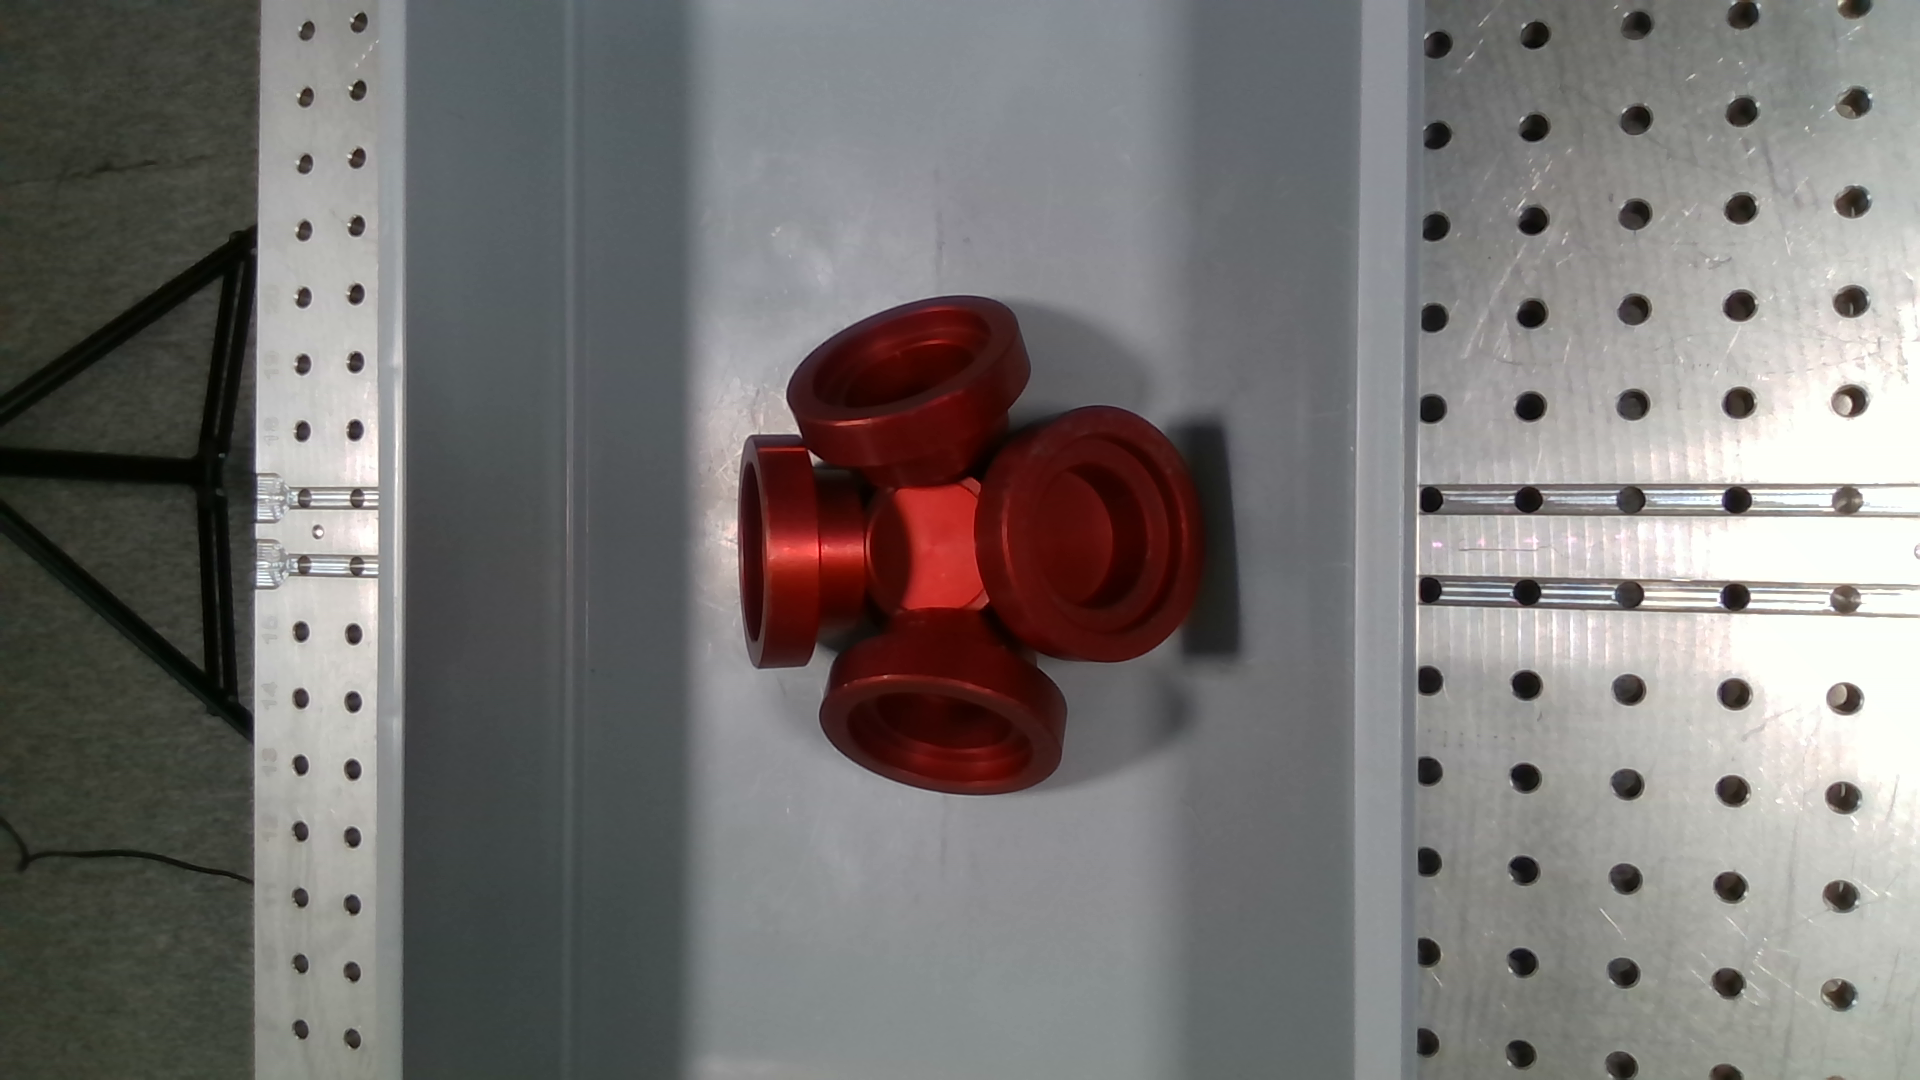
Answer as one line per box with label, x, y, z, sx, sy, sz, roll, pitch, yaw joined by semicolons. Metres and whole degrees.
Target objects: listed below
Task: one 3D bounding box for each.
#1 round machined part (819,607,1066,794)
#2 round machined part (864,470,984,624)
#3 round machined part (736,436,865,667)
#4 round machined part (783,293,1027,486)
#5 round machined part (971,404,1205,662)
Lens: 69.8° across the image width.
round machined part;-0.005;0.063;0.559;0.098;0.098;0.042;-3;53;20
round machined part;-0.005;0.002;0.576;0.098;0.042;0.098;0;91;20
round machined part;-0.068;0.004;0.580;0.042;0.098;0.098;-1;90;-16
round machined part;-0.019;-0.058;0.562;0.098;0.098;0.042;-7;125;20
round machined part;0.045;-0.002;0.538;0.042;0.098;0.098;-5;88;58
